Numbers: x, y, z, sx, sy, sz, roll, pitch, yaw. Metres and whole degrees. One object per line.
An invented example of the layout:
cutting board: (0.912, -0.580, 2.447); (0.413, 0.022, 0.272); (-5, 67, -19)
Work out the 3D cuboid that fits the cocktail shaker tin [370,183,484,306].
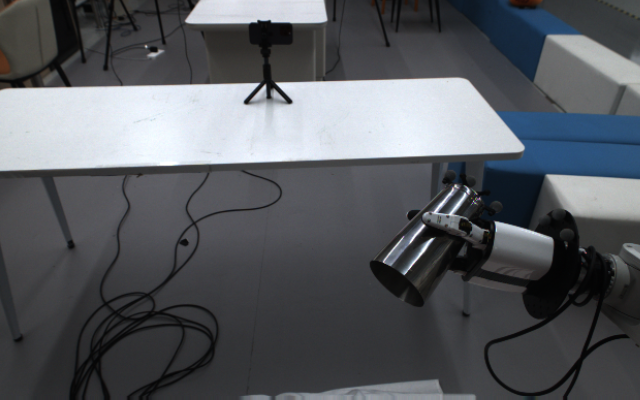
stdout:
cocktail shaker tin: (0.159, 0.052, 0.684); (0.093, 0.093, 0.170); (32, 67, 35)
